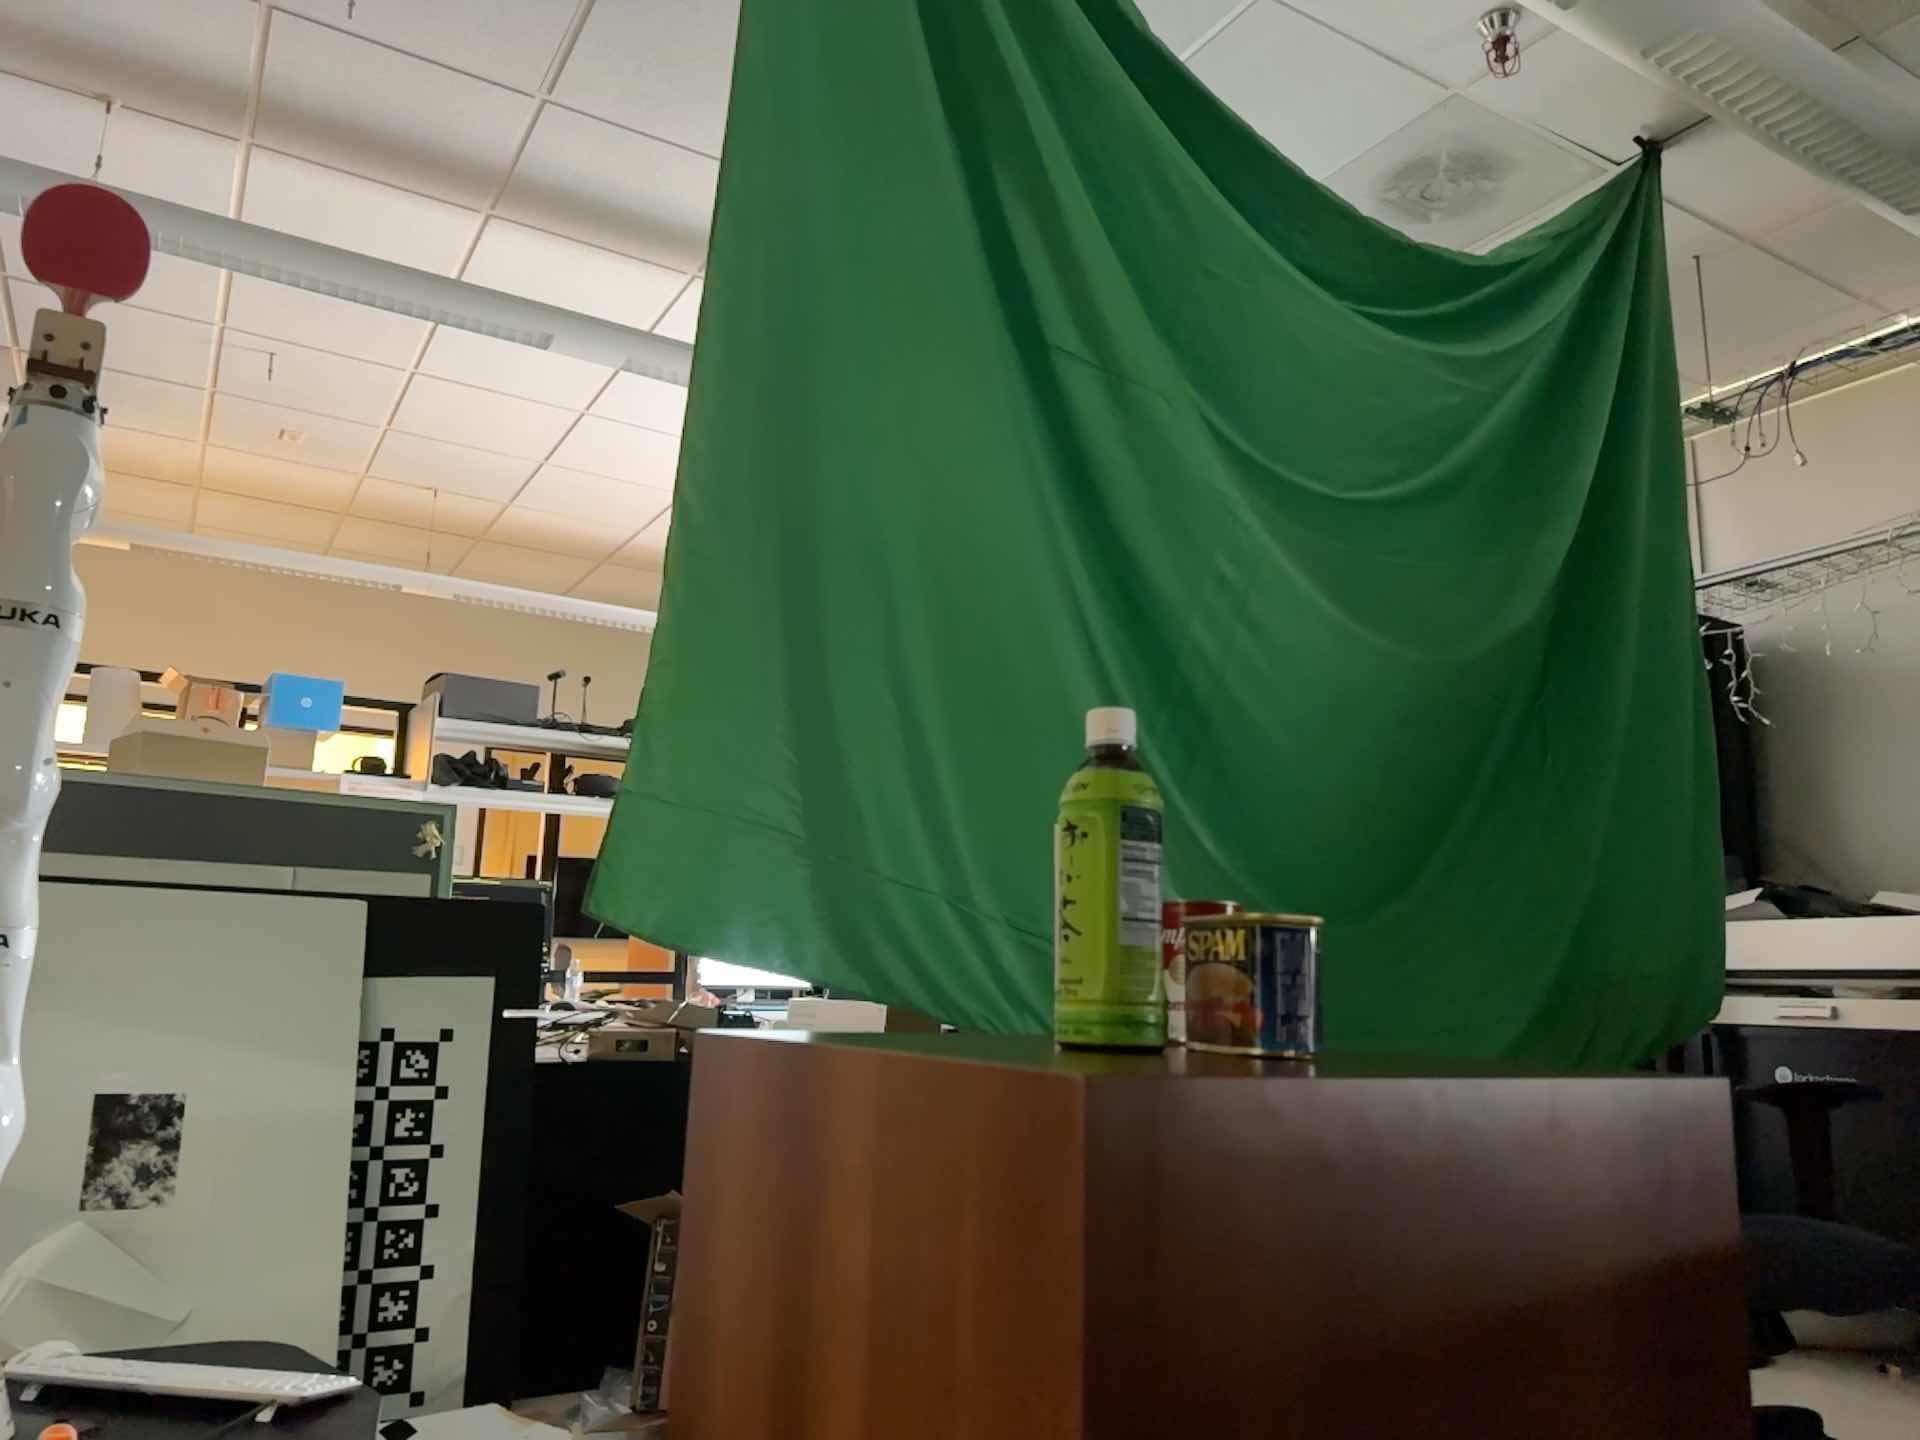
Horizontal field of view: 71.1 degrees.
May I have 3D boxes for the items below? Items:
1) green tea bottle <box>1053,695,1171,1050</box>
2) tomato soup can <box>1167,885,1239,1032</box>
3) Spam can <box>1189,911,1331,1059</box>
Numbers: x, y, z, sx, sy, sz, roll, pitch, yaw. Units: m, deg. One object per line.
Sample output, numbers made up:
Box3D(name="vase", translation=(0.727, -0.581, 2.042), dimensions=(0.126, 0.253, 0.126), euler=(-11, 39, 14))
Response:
Box3D(name="green tea bottle", translation=(0.091, 0.091, 0.820), dimensions=(0.073, 0.212, 0.073), euler=(-1, -11, 0))
Box3D(name="tomato soup can", translation=(0.166, 0.171, 0.970), dimensions=(0.067, 0.102, 0.067), euler=(2, -7, 0))
Box3D(name="Spam can", translation=(0.184, 0.161, 0.830), dimensions=(0.056, 0.083, 0.100), euler=(4, -9, -15))
